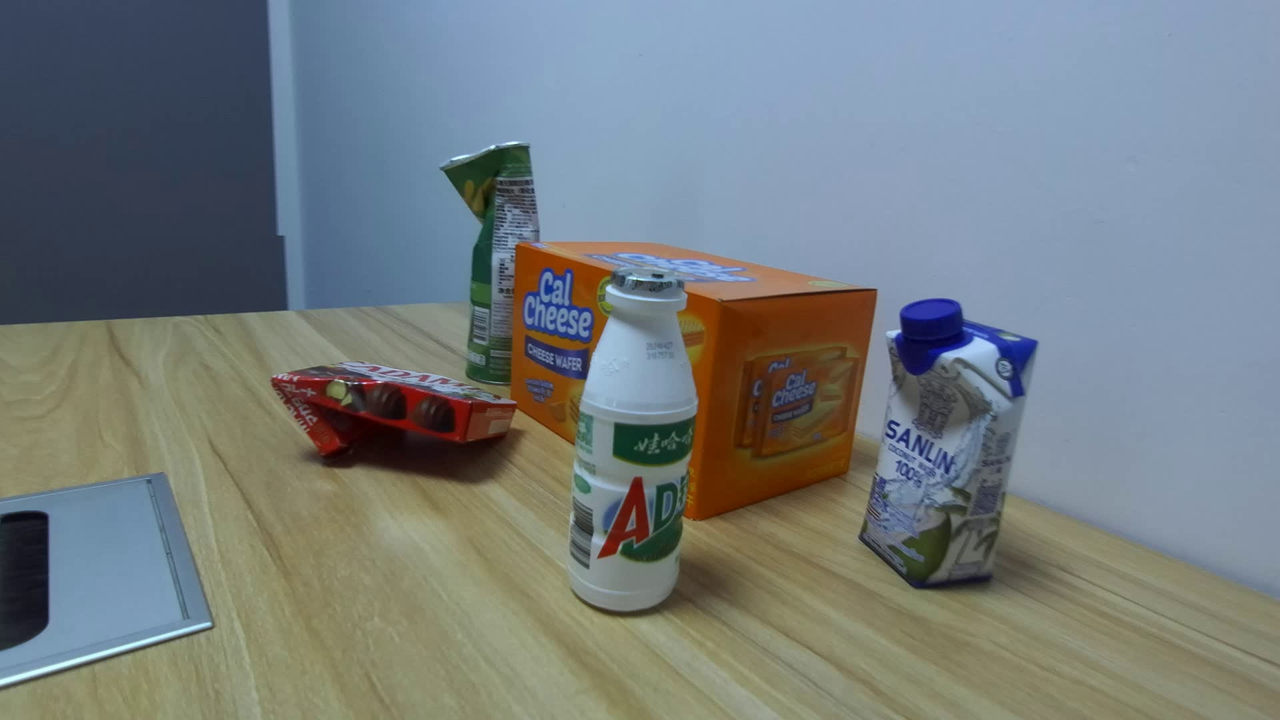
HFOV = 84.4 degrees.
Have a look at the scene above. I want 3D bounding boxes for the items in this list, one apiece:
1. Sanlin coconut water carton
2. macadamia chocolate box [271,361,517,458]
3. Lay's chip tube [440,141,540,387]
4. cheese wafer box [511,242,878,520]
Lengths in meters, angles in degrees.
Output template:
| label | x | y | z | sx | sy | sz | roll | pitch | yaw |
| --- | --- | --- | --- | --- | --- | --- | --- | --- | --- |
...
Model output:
| label | x | y | z | sx | sy | sz | roll | pitch | yaw |
| --- | --- | --- | --- | --- | --- | --- | --- | --- | --- |
| Sanlin coconut water carton | 0.154 | 0.040 | 0.361 | 0.058 | 0.142 | 0.077 | -6 | 17 | -16 |
| macadamia chocolate box | -0.151 | 0.027 | 0.462 | 0.126 | 0.056 | 0.112 | 6 | 16 | 4 |
| Lay's chip tube | -0.122 | -0.076 | 0.596 | 0.071 | 0.199 | 0.079 | -7 | 11 | -19 |
| cheese wafer box | 0.027 | -0.005 | 0.504 | 0.149 | 0.129 | 0.220 | -8 | 20 | -38 |
